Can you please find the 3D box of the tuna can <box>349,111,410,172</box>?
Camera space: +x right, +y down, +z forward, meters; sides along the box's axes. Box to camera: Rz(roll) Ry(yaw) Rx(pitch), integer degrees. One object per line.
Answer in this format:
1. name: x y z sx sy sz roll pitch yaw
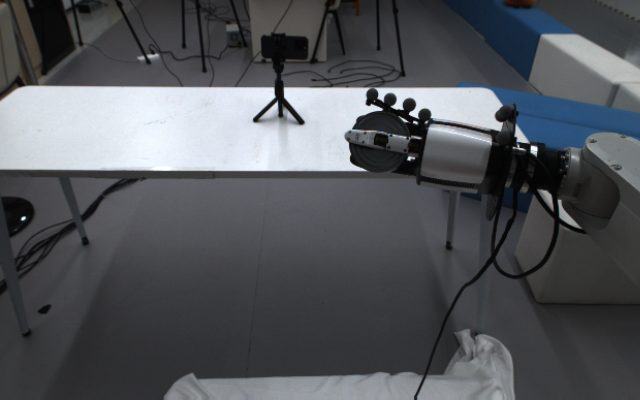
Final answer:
1. tuna can: 0.087 -0.083 0.683 0.085 0.085 0.034 13 3 15
